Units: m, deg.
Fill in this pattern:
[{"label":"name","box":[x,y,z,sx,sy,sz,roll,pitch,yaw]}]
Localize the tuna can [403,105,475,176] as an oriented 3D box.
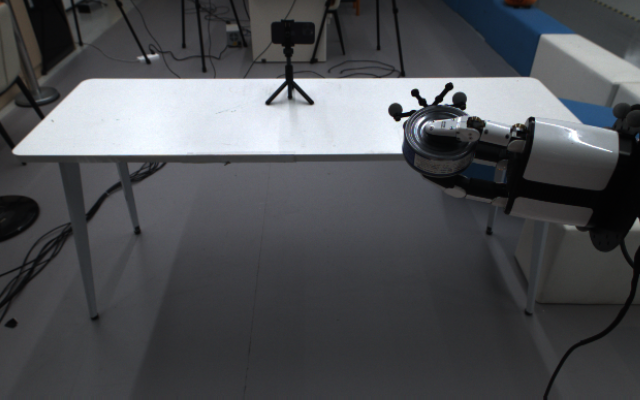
[{"label":"tuna can","box":[0.143,-0.072,0.569,0.085,0.034,0.085,-3,59,5]}]
